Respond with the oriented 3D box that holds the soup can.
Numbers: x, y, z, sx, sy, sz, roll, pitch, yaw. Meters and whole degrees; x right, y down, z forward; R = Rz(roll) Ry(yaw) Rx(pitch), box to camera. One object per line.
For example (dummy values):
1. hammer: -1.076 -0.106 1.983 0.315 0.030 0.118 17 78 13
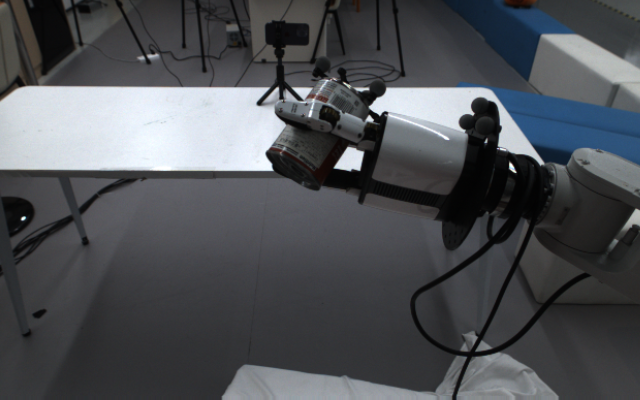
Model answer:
1. soup can: -0.001 -0.072 0.515 0.067 0.067 0.101 27 76 31
